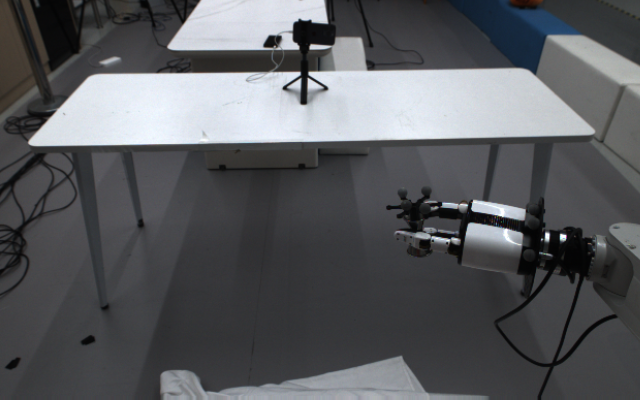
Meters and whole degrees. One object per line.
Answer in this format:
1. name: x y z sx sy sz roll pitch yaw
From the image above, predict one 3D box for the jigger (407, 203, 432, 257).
1. jigger: 0.163 0.052 0.808 0.043 0.071 0.043 -11 23 5
